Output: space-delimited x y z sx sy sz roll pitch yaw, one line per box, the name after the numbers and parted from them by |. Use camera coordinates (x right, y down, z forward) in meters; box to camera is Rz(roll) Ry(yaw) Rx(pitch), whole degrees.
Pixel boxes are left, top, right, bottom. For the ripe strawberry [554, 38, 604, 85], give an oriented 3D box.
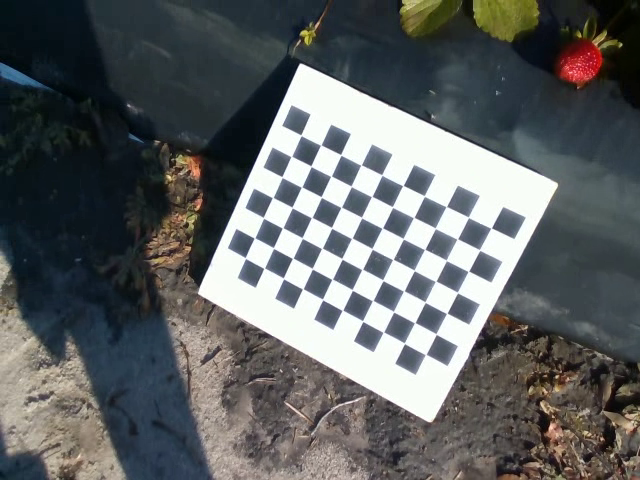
0.215 -0.144 0.547 0.050 0.043 0.043 -29 0 -35 | ripe strawberry
